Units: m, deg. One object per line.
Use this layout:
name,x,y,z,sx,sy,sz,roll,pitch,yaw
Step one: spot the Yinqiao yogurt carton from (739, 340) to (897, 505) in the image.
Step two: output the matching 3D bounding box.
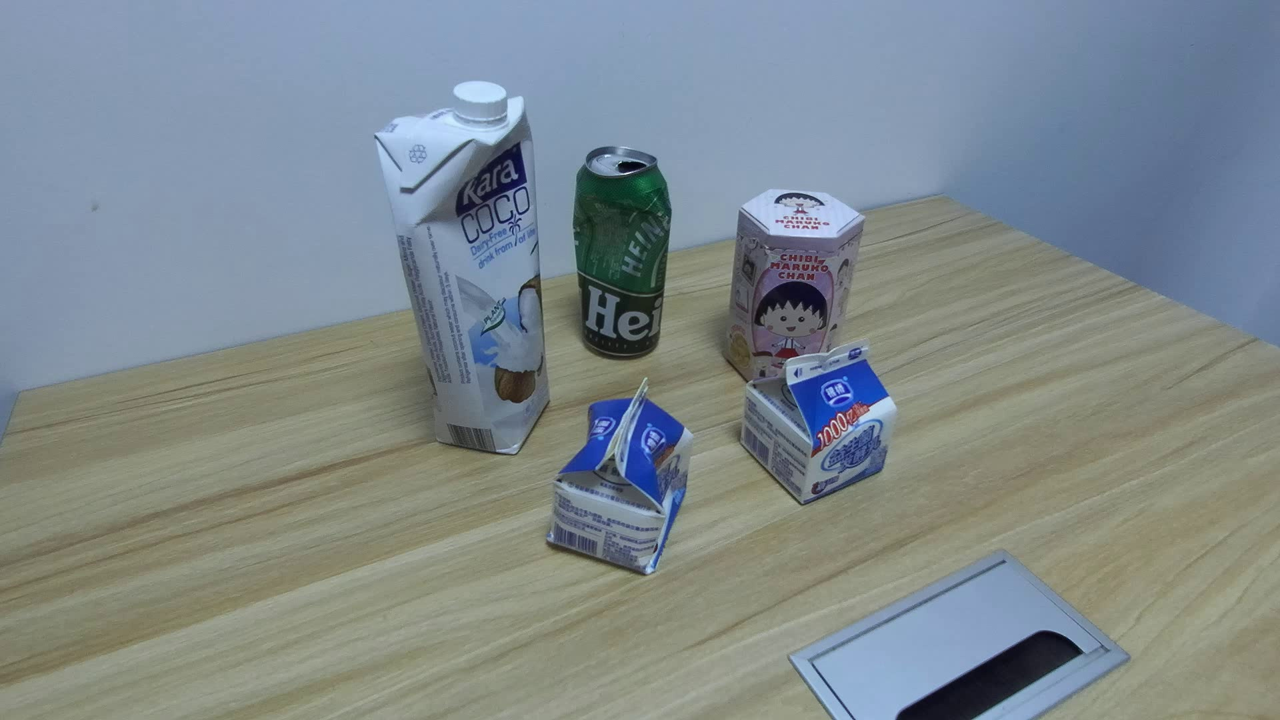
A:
Yinqiao yogurt carton,0.119,0.029,0.466,0.076,0.092,0.073,-16,37,-24

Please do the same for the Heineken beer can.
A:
Heineken beer can,-0.015,-0.082,0.564,0.066,0.164,0.077,-7,37,-10

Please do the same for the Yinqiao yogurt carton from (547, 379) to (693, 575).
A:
Yinqiao yogurt carton,-0.010,0.064,0.417,0.071,0.094,0.077,14,37,12

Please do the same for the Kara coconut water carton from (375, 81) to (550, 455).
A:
Kara coconut water carton,-0.105,-0.052,0.457,0.069,0.239,0.115,10,36,12

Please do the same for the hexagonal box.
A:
hexagonal box,0.116,-0.051,0.544,0.091,0.136,0.084,5,34,5
